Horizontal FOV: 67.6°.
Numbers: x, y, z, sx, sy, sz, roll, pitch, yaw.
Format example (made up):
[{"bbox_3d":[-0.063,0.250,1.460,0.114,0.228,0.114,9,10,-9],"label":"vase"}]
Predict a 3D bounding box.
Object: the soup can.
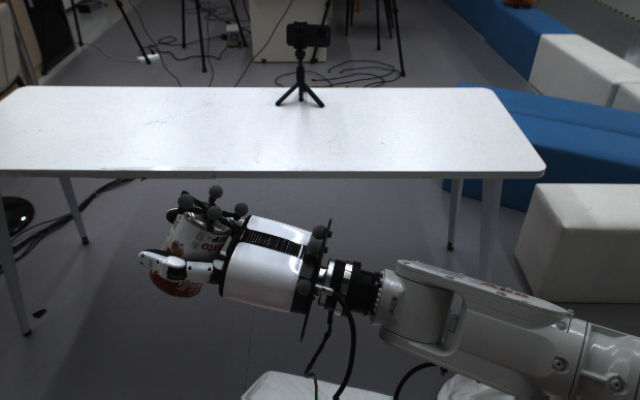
[{"bbox_3d":[-0.158,0.061,0.595,0.067,0.101,0.067,28,18,-10],"label":"soup can"}]
